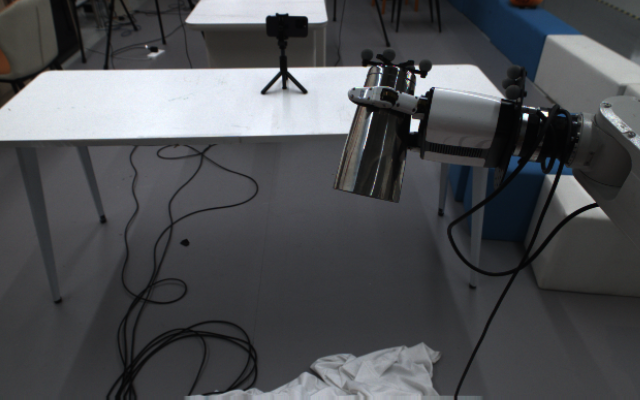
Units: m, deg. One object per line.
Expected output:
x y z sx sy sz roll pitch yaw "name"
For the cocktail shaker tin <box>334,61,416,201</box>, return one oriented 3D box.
0.083 -0.093 0.657 0.093 0.170 0.093 13 1 0 "cocktail shaker tin"
